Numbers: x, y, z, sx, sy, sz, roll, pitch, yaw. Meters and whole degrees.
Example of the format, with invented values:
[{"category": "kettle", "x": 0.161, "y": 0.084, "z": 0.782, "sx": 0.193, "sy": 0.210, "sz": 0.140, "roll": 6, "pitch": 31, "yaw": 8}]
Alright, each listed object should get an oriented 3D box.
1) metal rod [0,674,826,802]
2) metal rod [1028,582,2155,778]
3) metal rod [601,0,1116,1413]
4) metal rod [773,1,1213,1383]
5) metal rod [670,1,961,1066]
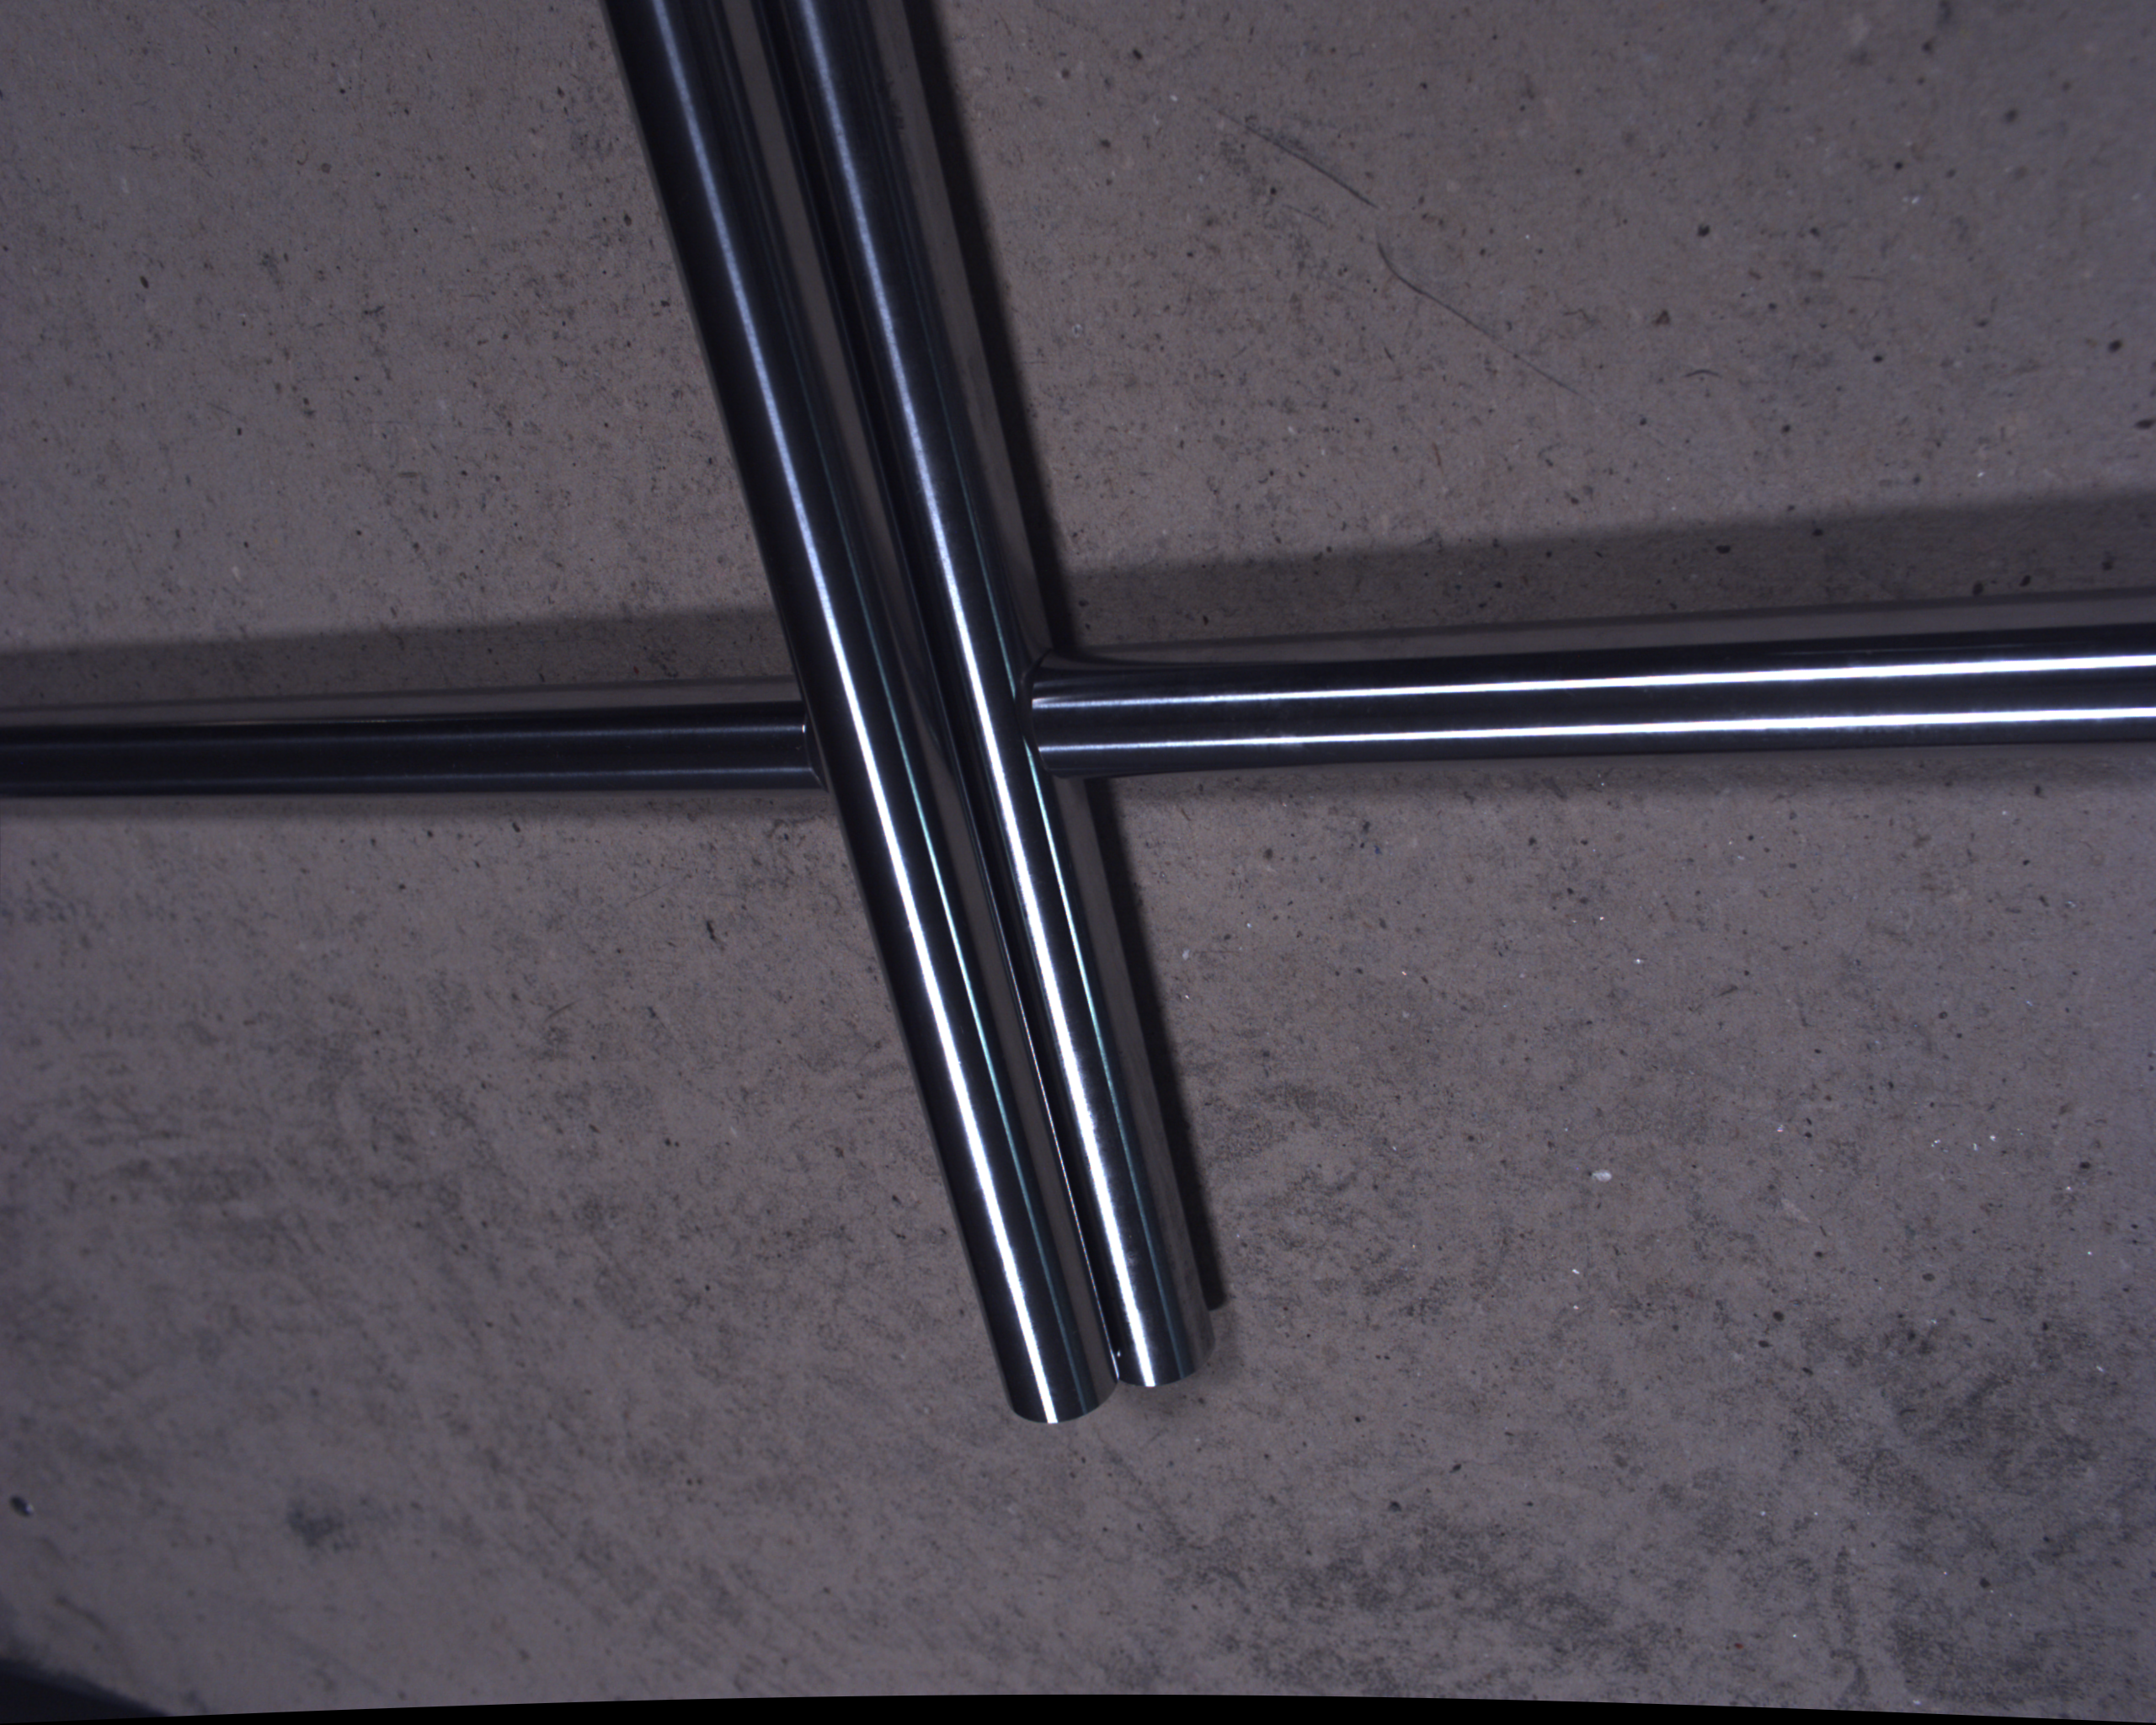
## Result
[{"category": "metal rod", "x": -0.181, "y": -0.027, "z": 0.484, "sx": 0.301, "sy": 0.025, "sz": 0.025, "roll": 1, "pitch": 119, "yaw": 27}, {"category": "metal rod", "x": 0.130, "y": -0.029, "z": 0.322, "sx": 0.300, "sy": 0.025, "sz": 0.025, "roll": 0, "pitch": 118, "yaw": 28}, {"category": "metal rod", "x": -0.035, "y": -0.020, "z": 0.387, "sx": 0.025, "sy": 0.025, "sz": 0.298, "roll": 1, "pitch": 119, "yaw": 27}, {"category": "metal rod", "x": -0.013, "y": -0.023, "z": 0.400, "sx": 0.025, "sy": 0.025, "sz": 0.298, "roll": 1, "pitch": 119, "yaw": 27}, {"category": "metal rod", "x": -0.036, "y": -0.029, "z": 0.409, "sx": 0.025, "sy": 0.025, "sz": 0.298, "roll": 1, "pitch": 119, "yaw": 27}]
